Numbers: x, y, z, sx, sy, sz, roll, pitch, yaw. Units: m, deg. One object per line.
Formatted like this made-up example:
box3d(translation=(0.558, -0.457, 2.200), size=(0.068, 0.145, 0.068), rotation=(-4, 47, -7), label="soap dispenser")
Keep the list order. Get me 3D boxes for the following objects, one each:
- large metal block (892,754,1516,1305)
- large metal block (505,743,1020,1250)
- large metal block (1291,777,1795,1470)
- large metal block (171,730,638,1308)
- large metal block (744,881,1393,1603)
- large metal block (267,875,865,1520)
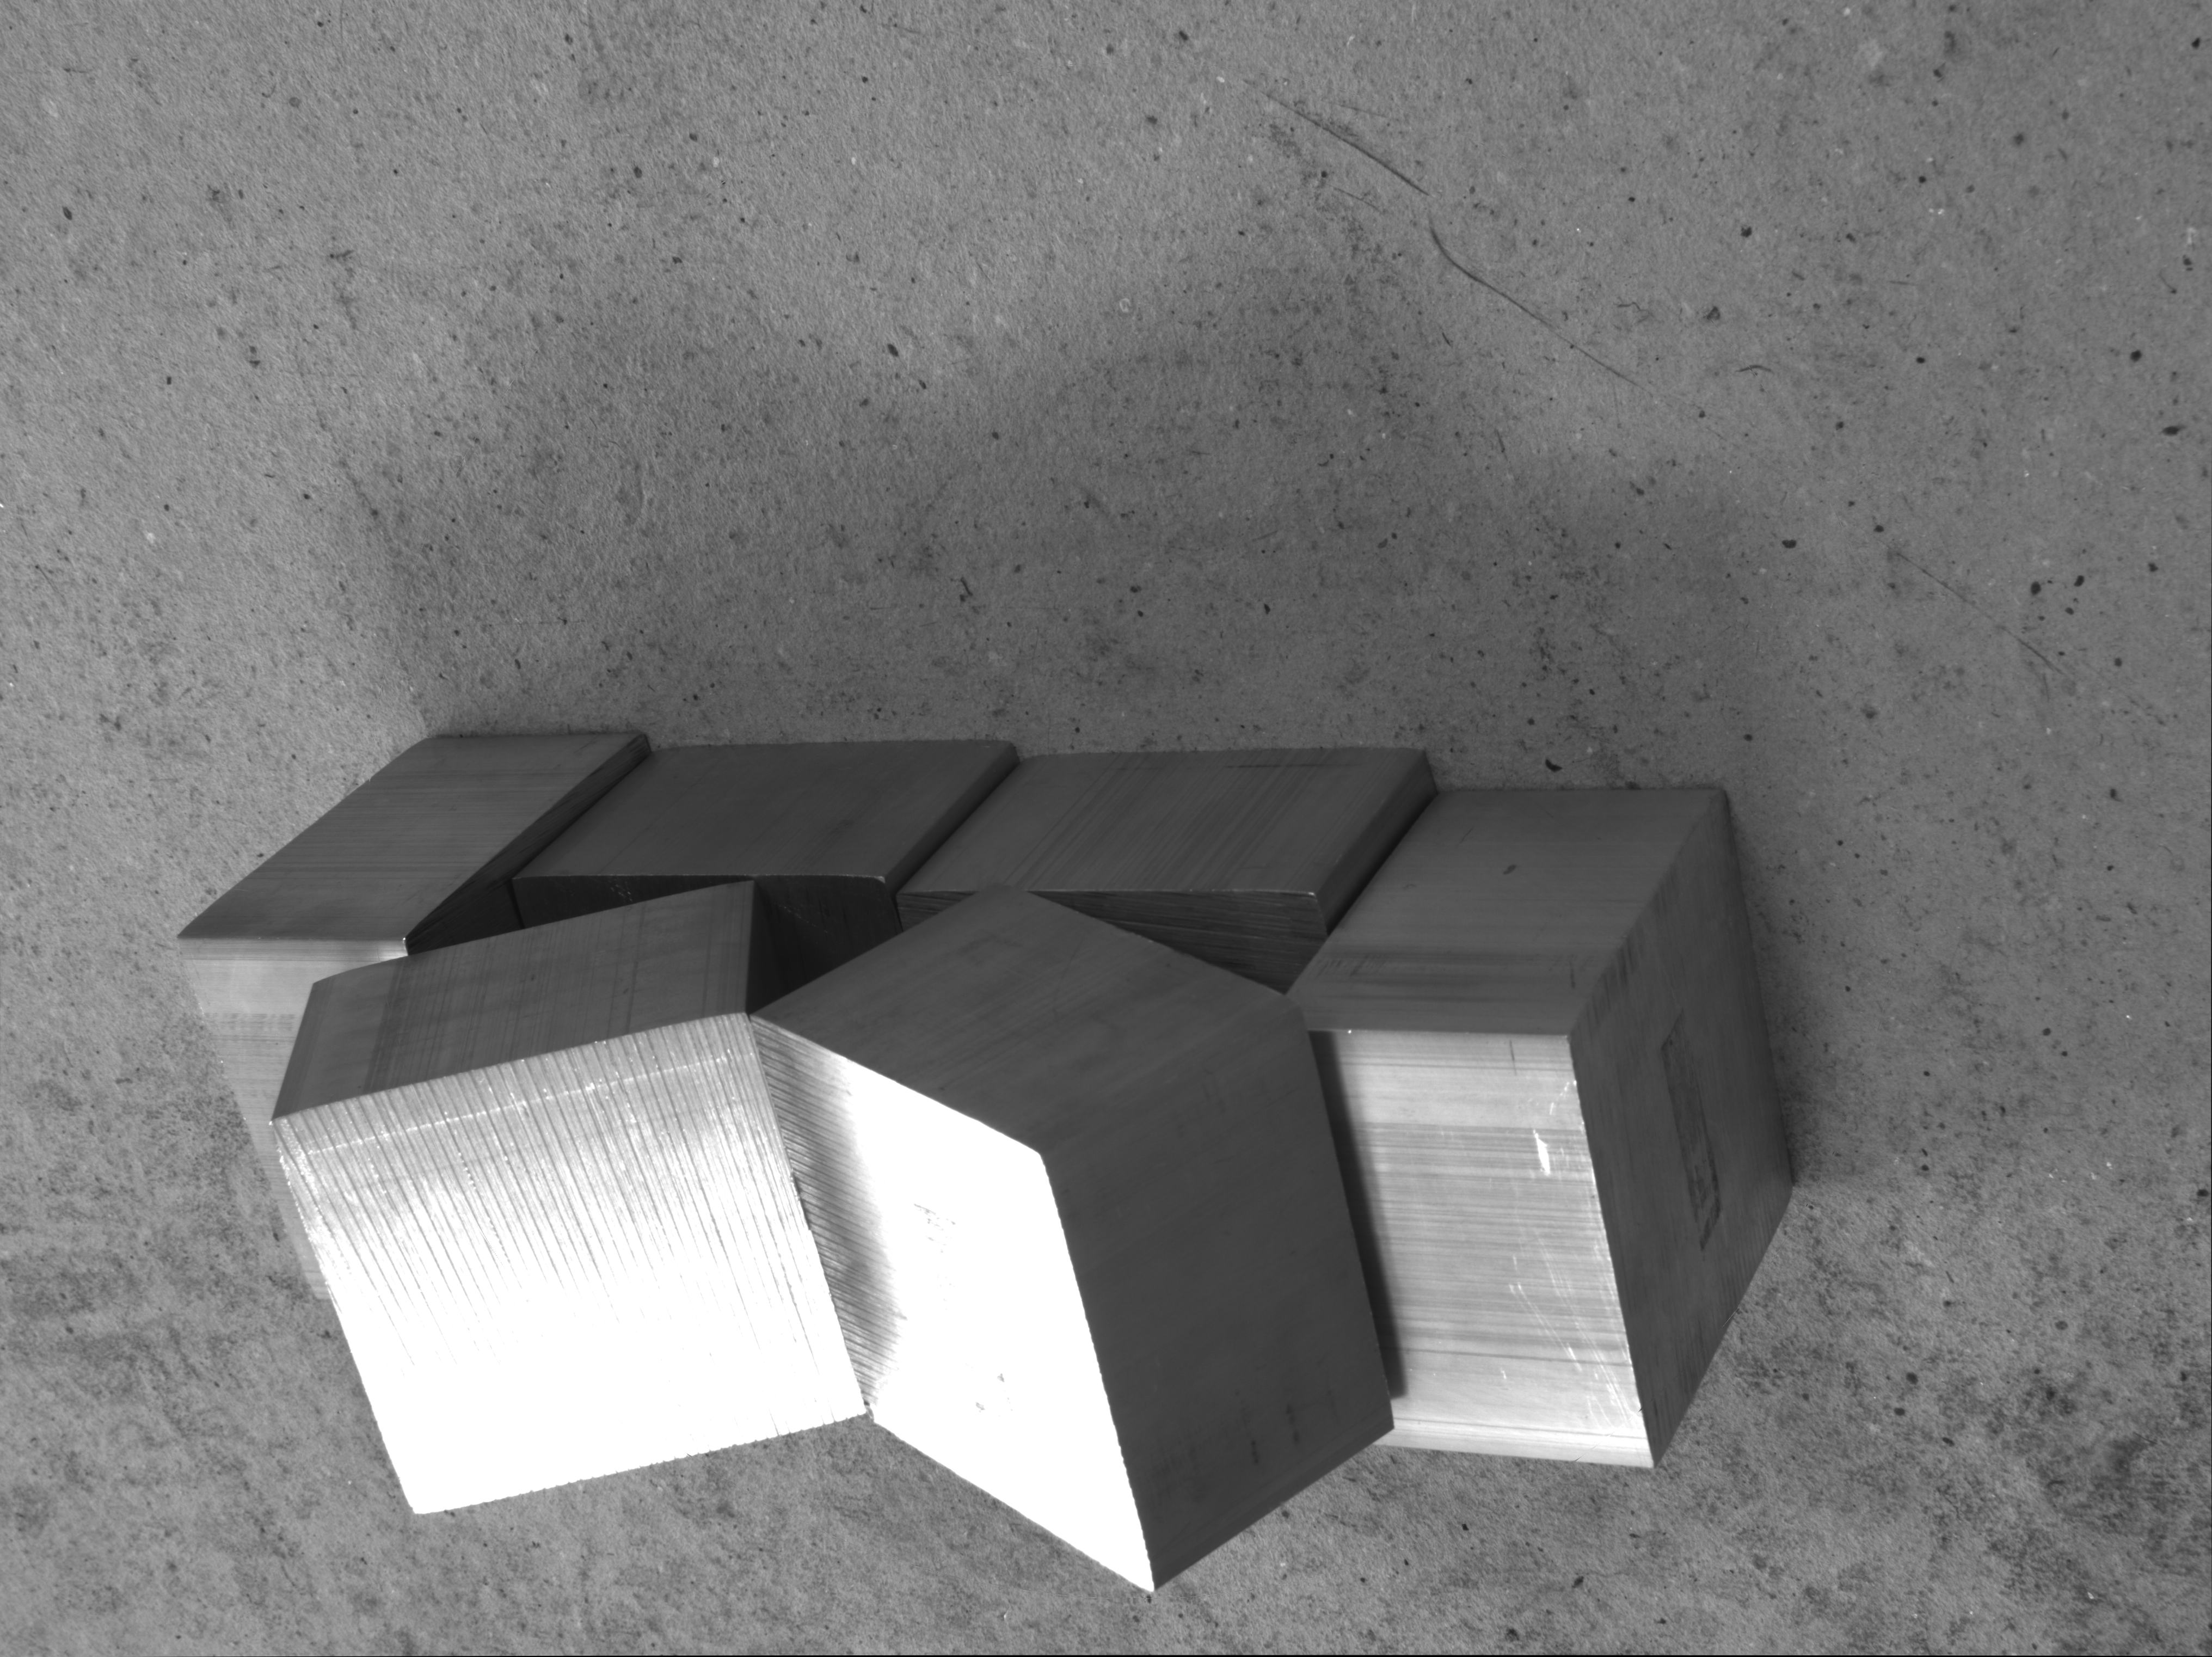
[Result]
box3d(translation=(0.018, 0.034, 0.636), size=(0.080, 0.050, 0.080), rotation=(0, 118, 28), label="large metal block")
box3d(translation=(-0.053, 0.032, 0.674), size=(0.080, 0.050, 0.080), rotation=(0, 118, 28), label="large metal block")
box3d(translation=(0.072, 0.046, 0.598), size=(0.050, 0.080, 0.080), rotation=(-1, 118, 28), label="large metal block")
box3d(translation=(-0.119, 0.035, 0.692), size=(0.050, 0.080, 0.080), rotation=(0, 117, 29), label="large metal block")
box3d(translation=(-0.006, 0.063, 0.584), size=(0.080, 0.050, 0.080), rotation=(20, 131, 50), label="large metal block")
box3d(translation=(-0.088, 0.063, 0.627), size=(0.080, 0.050, 0.080), rotation=(-13, 114, 2), label="large metal block")
